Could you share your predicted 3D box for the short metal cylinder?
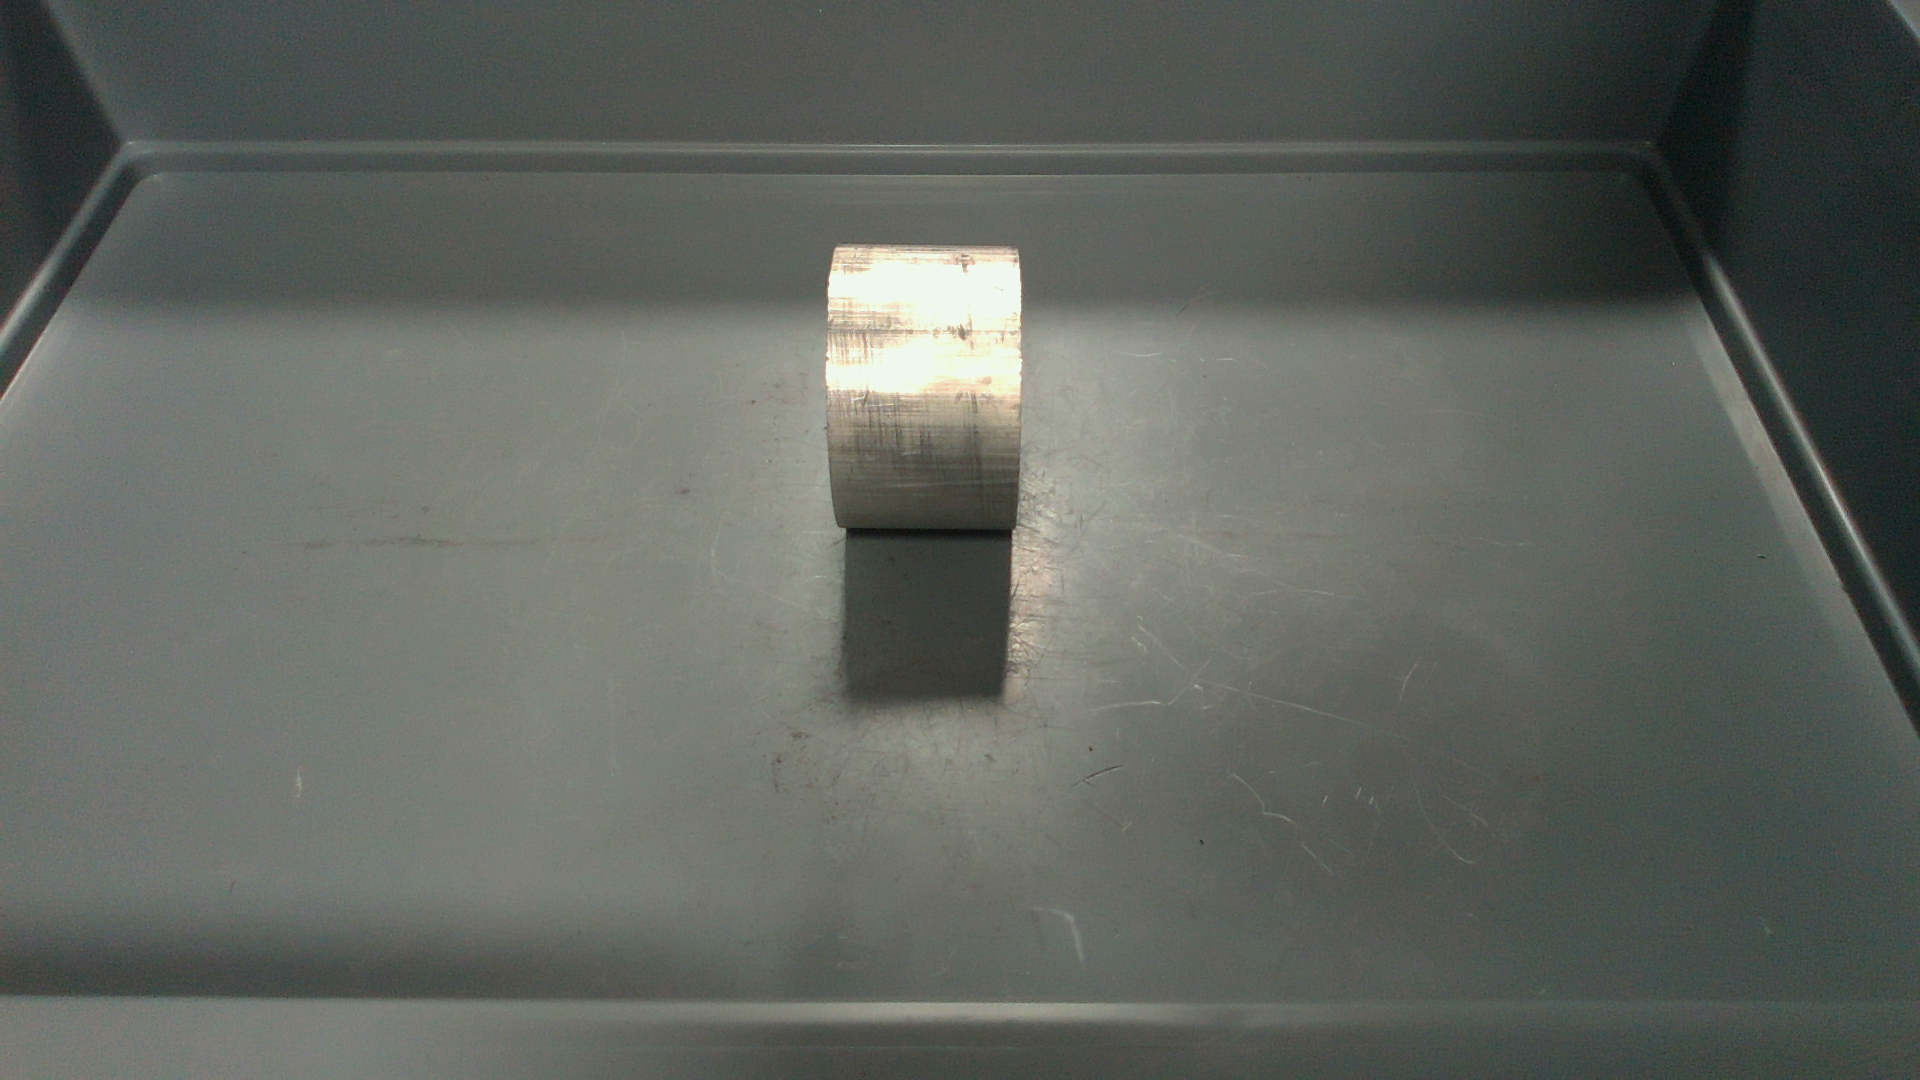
[{"bbox_3d":[-0.009,-0.043,0.390,0.050,0.080,0.080,0,50,0],"label":"short metal cylinder"}]
